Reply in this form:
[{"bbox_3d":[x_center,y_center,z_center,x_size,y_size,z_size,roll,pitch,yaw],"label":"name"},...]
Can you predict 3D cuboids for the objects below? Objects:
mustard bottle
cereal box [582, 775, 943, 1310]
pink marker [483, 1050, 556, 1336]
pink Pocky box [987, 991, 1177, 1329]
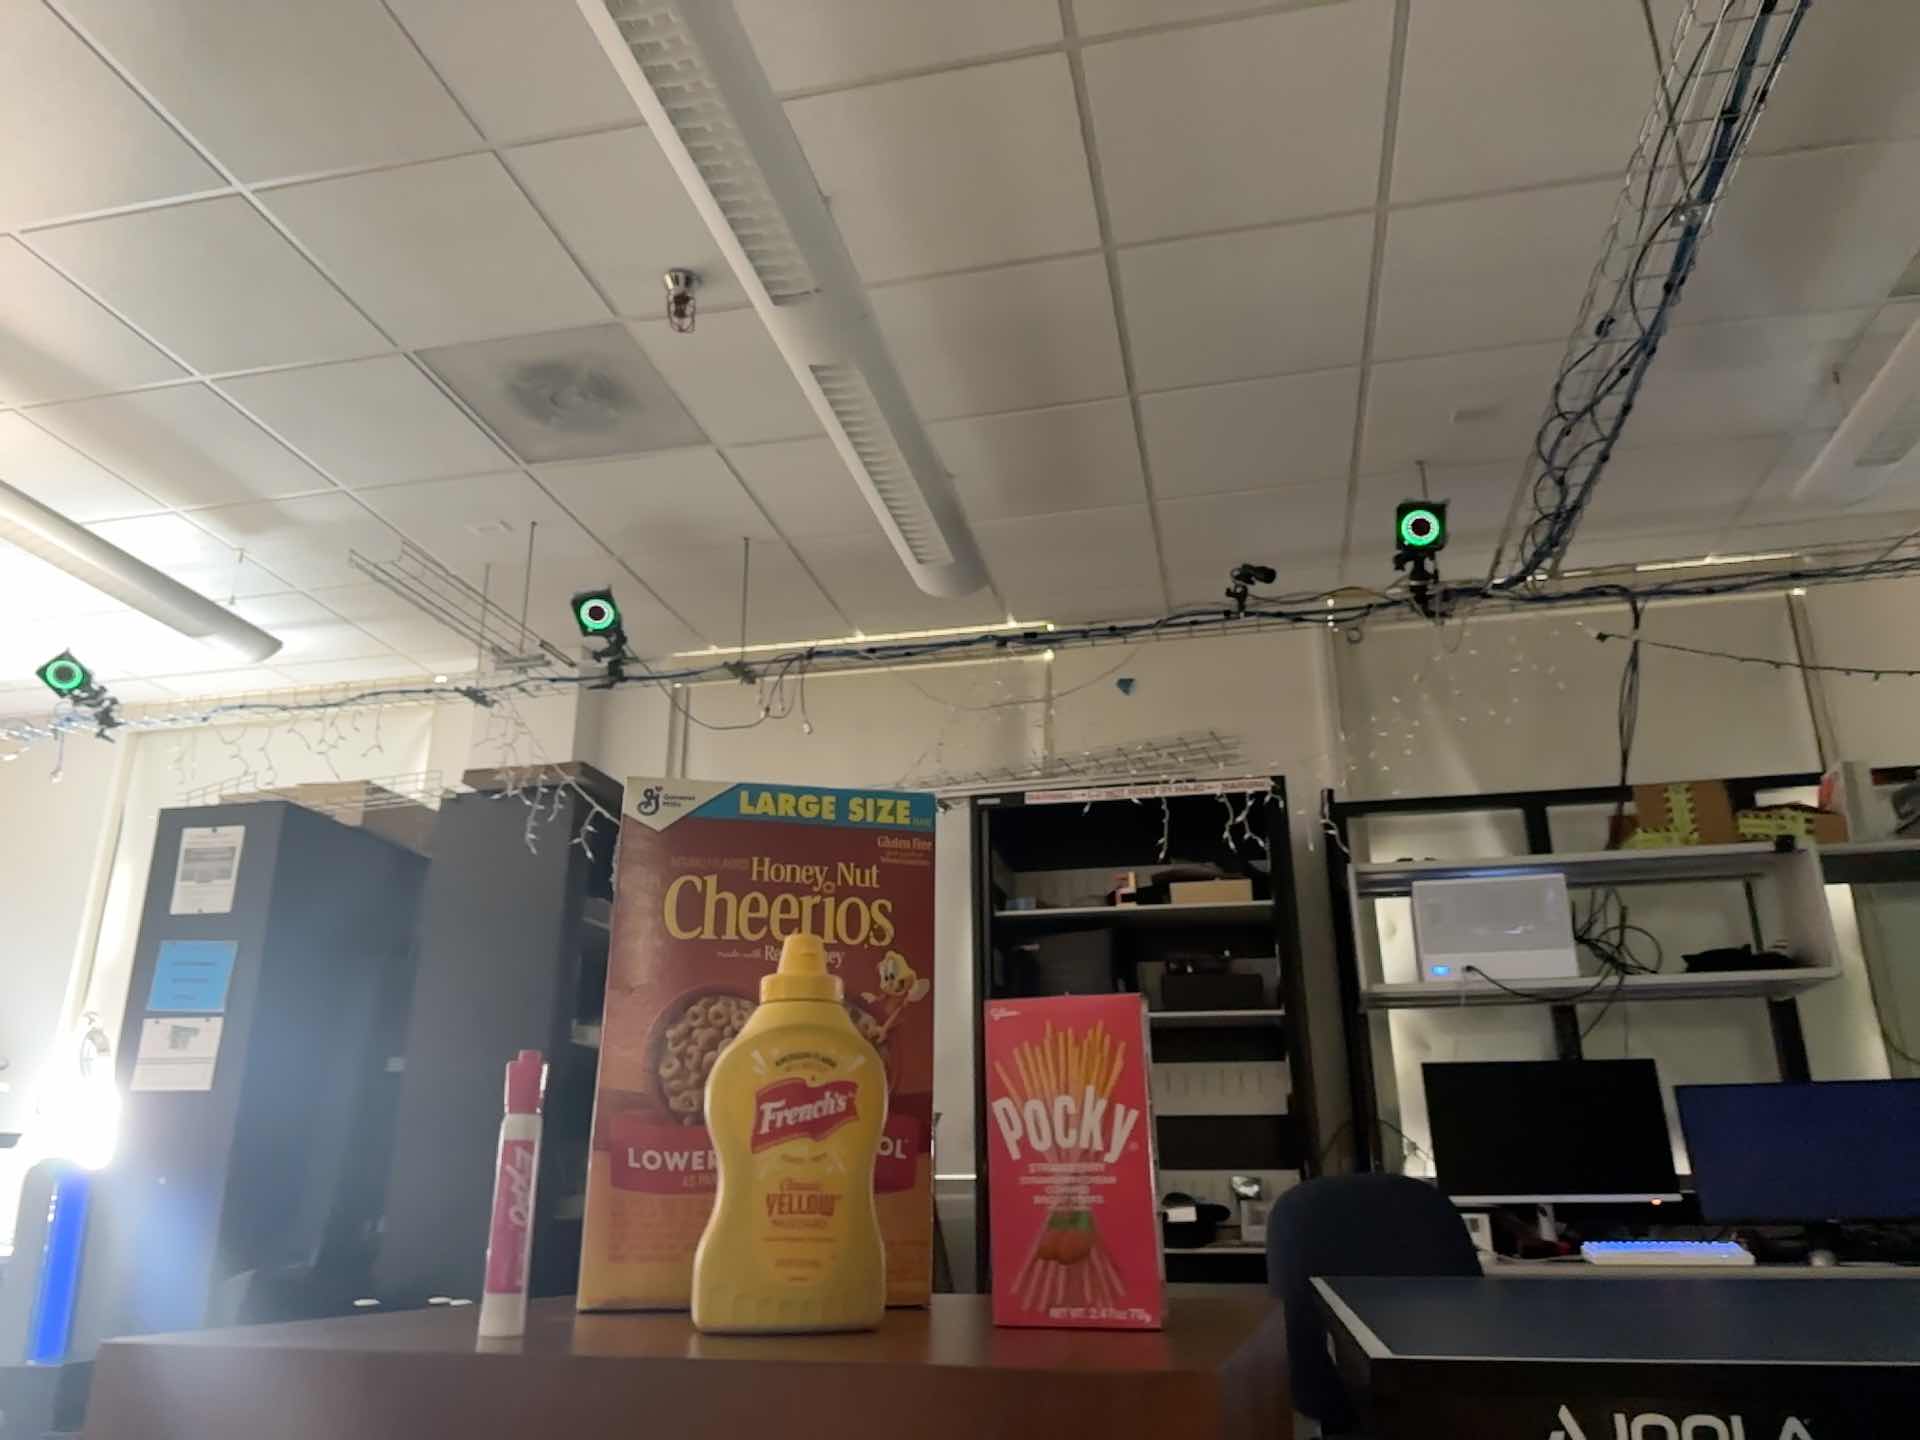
[{"bbox_3d":[-0.080,0.193,0.647,0.092,0.184,0.054,2,-18,-11],"label":"mustard bottle"},{"bbox_3d":[-0.115,0.190,0.825,0.195,0.296,0.065,6,-19,-15],"label":"cereal box"},{"bbox_3d":[-0.198,0.212,0.612,0.020,0.121,0.020,0,-19,0],"label":"pink marker"},{"bbox_3d":[0.058,0.212,0.661,0.084,0.154,0.029,-5,-19,11],"label":"pink Pocky box"}]
